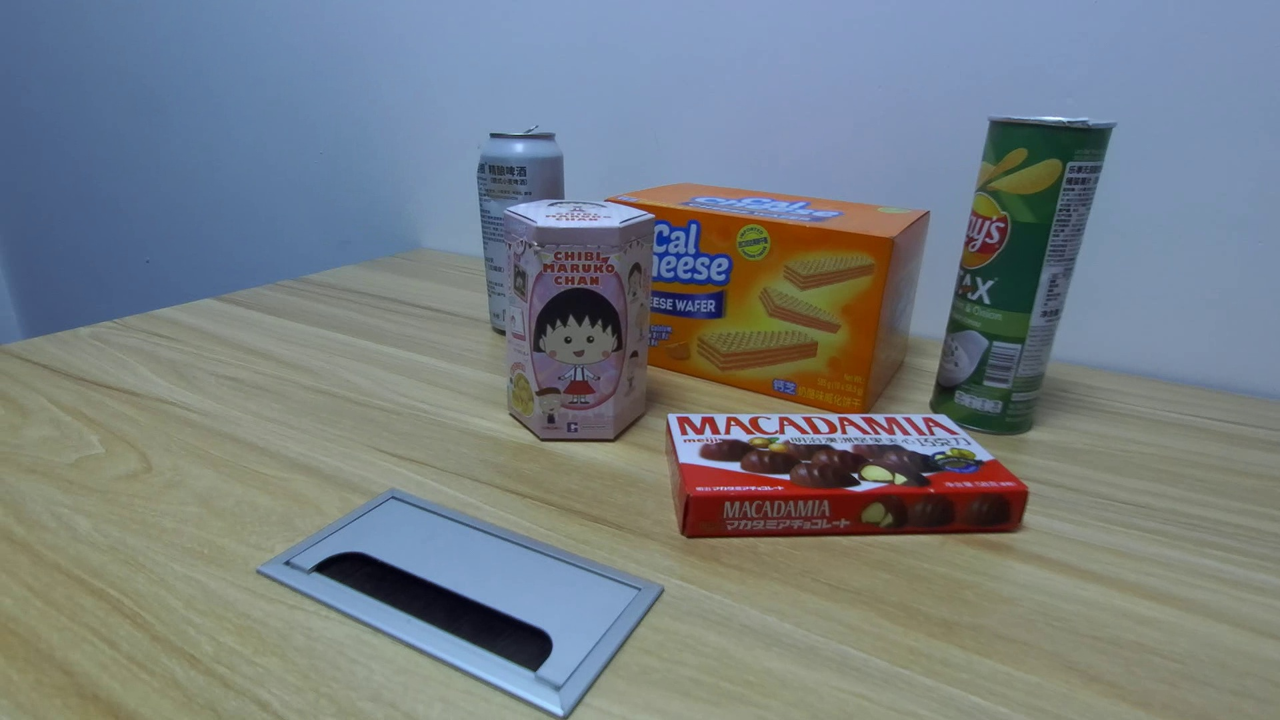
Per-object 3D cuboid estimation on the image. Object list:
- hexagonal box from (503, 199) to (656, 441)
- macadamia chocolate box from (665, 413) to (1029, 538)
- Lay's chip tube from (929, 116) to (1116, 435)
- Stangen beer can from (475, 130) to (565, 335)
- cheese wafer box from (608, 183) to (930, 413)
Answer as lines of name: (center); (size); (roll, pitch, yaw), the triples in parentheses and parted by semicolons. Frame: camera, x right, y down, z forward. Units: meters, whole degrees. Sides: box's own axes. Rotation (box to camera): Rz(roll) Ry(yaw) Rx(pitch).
hexagonal box: (-0.038, -0.026, 0.448); (0.091, 0.136, 0.083); (1, 20, -5)
macadamia chocolate box: (0.106, 0.061, 0.394); (0.178, 0.027, 0.095); (1, 20, -5)
Lay's chip tube: (0.249, -0.056, 0.469); (0.071, 0.202, 0.071); (2, 20, 0)
Stangen beer can: (-0.098, -0.107, 0.604); (0.070, 0.173, 0.070); (3, 14, 12)
cheese wafer box: (0.098, -0.061, 0.568); (0.221, 0.129, 0.149); (14, 24, 26)
